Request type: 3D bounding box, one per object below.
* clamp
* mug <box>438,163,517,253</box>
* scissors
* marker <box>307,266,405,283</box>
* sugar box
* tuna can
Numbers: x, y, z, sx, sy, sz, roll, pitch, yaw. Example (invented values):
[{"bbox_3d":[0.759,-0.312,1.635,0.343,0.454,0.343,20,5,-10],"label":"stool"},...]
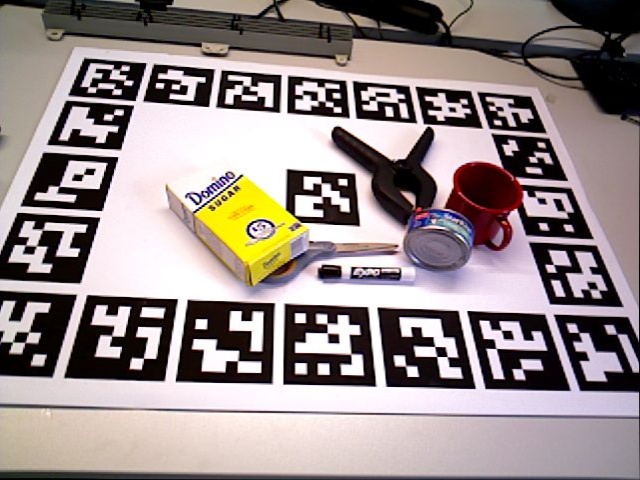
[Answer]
[{"bbox_3d":[0.110,-0.092,0.782,0.163,0.037,0.200,-4,55,-12],"label":"clamp"},{"bbox_3d":[0.205,-0.032,0.713,0.091,0.083,0.116,-19,55,-22],"label":"mug"},{"bbox_3d":[-0.002,0.005,0.686,0.200,0.016,0.086,-4,50,-13],"label":"scissors"},{"bbox_3d":[0.043,0.042,0.668,0.120,0.020,0.019,1,54,-7],"label":"marker"},{"bbox_3d":[-0.105,-0.031,0.677,0.091,0.046,0.176,-28,56,-27],"label":"sugar box"},{"bbox_3d":[0.148,0.002,0.672,0.085,0.088,0.033,18,52,5],"label":"tuna can"}]
